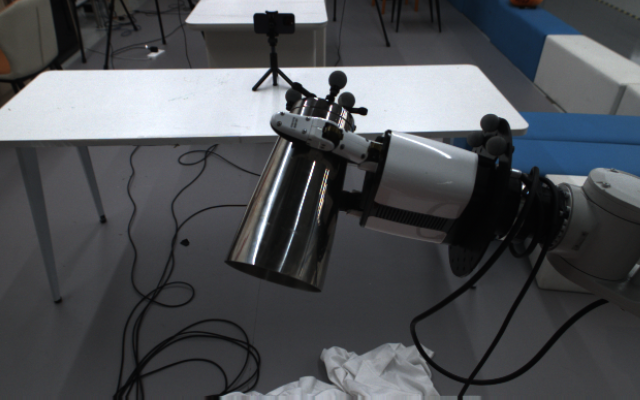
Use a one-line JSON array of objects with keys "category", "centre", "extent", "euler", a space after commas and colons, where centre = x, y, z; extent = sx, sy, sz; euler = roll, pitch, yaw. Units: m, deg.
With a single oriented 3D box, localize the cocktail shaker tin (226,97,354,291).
[{"category": "cocktail shaker tin", "centre": [-0.017, -0.009, 0.464], "extent": [0.093, 0.093, 0.170], "euler": [12, 72, 14]}]
